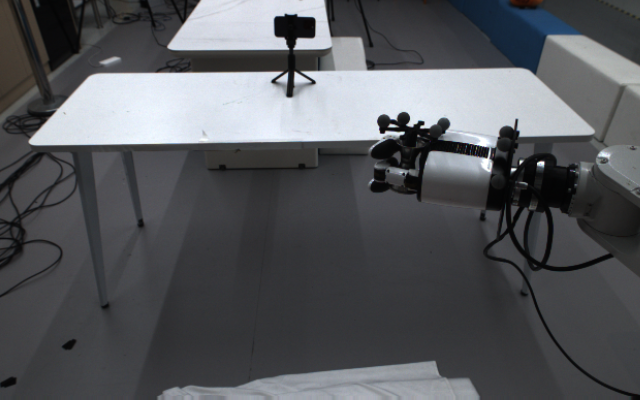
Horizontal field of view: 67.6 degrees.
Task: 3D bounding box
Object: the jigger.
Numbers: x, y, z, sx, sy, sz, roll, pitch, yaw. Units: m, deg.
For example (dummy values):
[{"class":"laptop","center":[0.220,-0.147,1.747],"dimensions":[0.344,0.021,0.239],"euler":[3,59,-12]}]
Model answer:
[{"class":"jigger","center":[0.125,-0.048,0.672],"dimensions":[0.043,0.071,0.043],"euler":[3,25,-1]}]
